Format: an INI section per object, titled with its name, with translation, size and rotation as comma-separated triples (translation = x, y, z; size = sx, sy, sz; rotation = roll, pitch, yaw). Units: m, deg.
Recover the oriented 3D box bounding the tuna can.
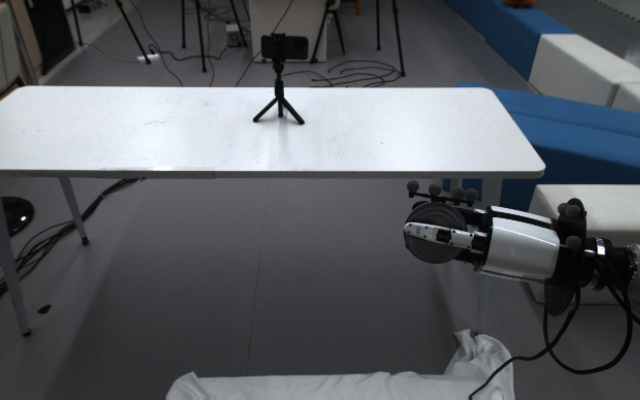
[tuna can]
translation = 0.162, 0.040, 0.676
size = 0.085, 0.085, 0.034
rotation = 10, 3, 12
